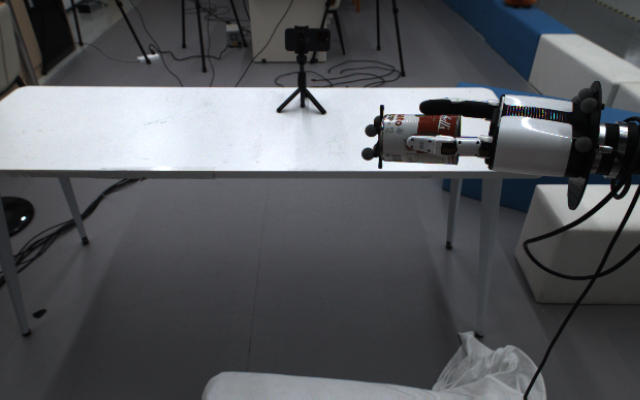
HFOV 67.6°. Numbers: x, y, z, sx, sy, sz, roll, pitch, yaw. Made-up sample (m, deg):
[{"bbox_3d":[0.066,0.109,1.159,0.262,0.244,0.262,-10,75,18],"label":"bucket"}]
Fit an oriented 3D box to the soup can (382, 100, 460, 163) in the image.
[{"bbox_3d":[0.141,-0.085,0.668,0.101,0.067,0.067,4,34,18],"label":"soup can"}]
